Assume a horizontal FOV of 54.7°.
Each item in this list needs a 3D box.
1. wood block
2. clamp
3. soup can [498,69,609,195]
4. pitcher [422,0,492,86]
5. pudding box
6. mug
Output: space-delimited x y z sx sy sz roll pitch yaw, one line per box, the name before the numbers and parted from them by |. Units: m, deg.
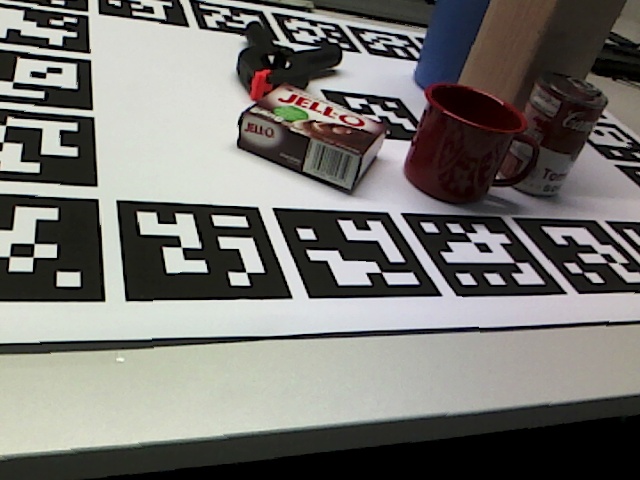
wood block | 0.224 -0.201 0.643 0.089 0.206 0.091 1 38 -27
clamp | -0.041 -0.192 0.684 0.122 0.036 0.165 24 36 -3
soup can | 0.221 -0.104 0.602 0.068 0.102 0.068 11 39 -9
pitcher | 0.214 -0.290 0.731 0.188 0.242 0.134 -2 38 -21
pudding box | -0.012 -0.095 0.556 0.114 0.038 0.090 22 39 9
mug | 0.139 -0.083 0.560 0.117 0.081 0.093 21 33 8
